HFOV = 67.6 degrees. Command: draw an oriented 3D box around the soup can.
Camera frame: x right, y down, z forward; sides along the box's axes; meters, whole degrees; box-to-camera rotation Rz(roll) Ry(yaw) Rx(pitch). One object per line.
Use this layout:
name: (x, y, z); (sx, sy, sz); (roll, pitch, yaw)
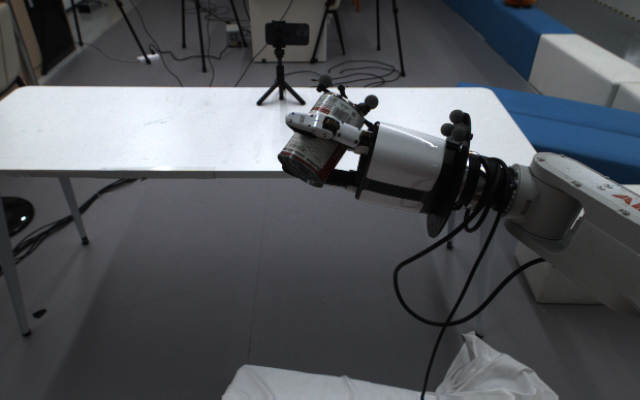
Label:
soup can: (0.003, -0.076, 0.610); (0.067, 0.067, 0.101); (26, 75, 31)
